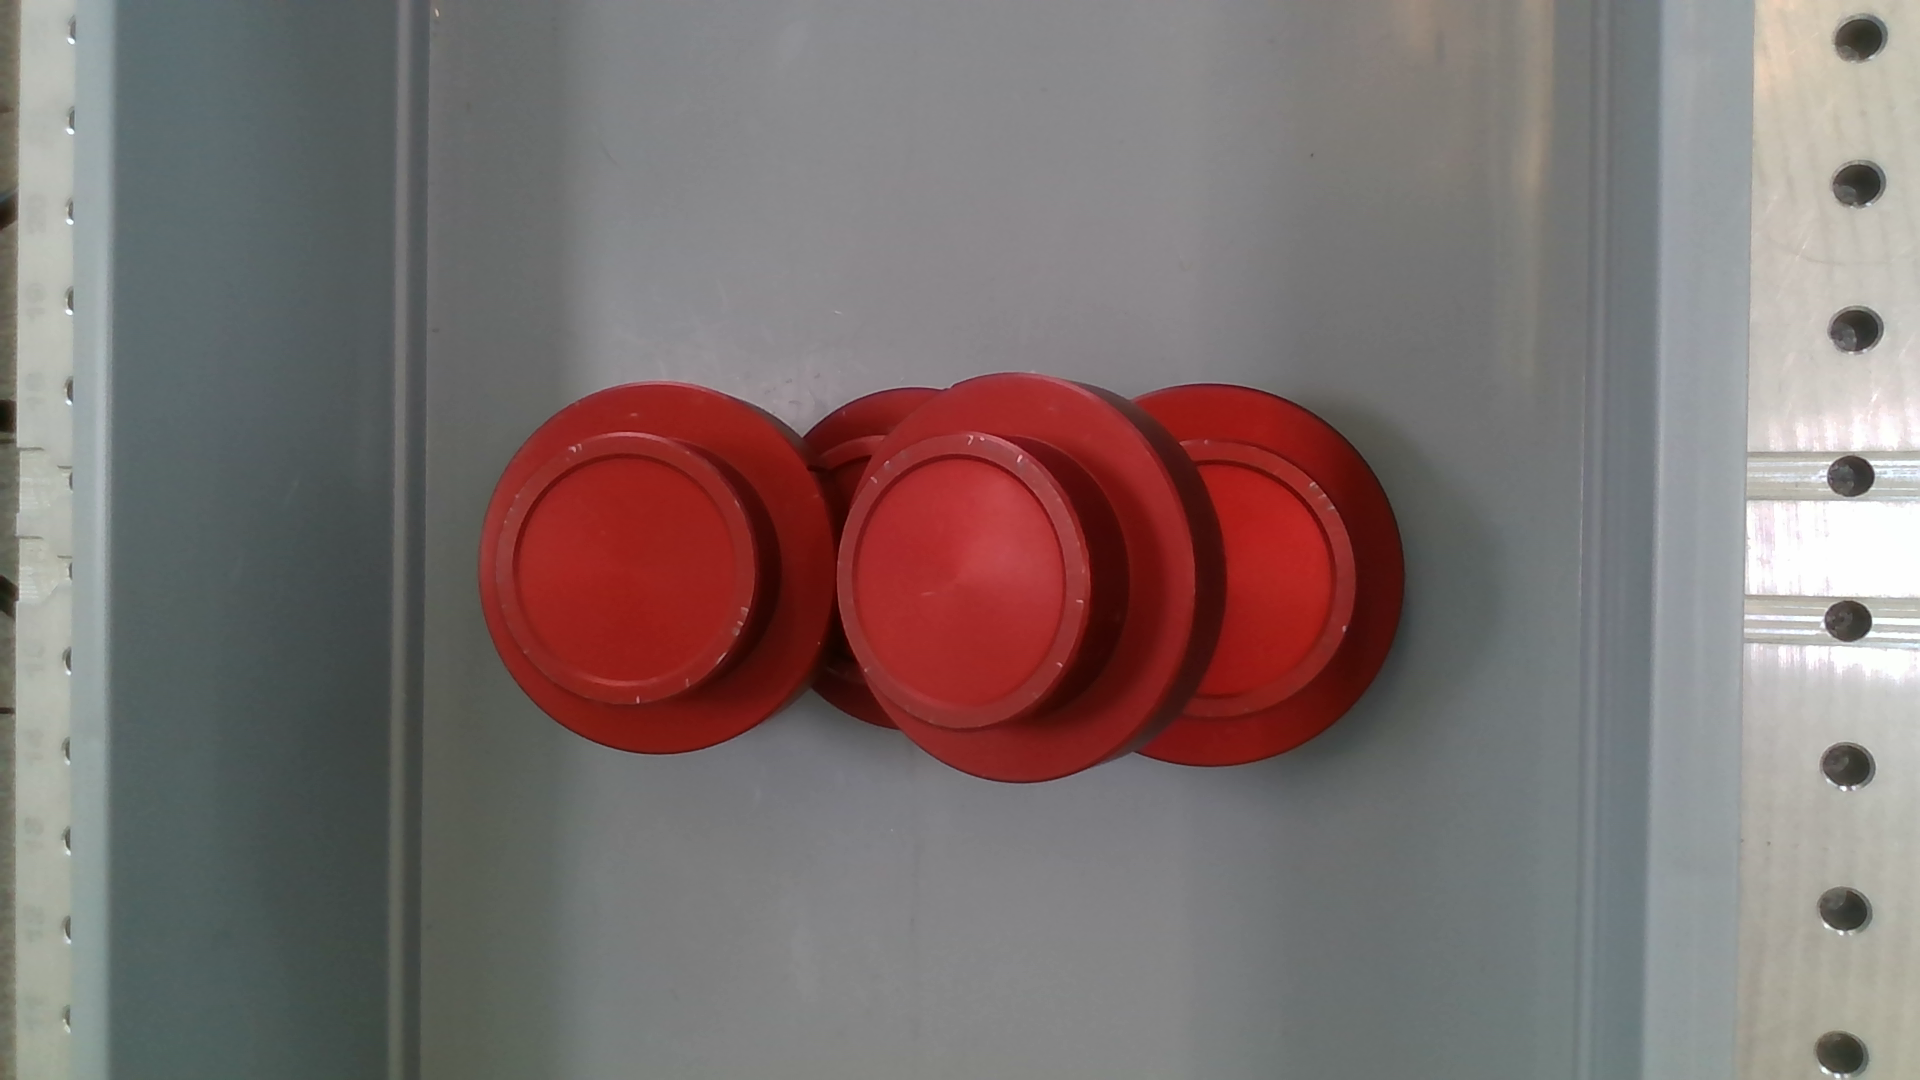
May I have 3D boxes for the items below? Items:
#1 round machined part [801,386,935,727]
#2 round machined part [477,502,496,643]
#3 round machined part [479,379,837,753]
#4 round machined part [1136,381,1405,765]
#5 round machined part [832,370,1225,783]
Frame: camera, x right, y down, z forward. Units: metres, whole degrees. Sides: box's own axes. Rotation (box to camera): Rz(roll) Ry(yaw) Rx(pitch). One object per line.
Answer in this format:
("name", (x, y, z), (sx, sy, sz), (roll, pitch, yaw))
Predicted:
("round machined part", (-0.014, 0.005, 0.389), (0.098, 0.042, 0.098), (0, 90, 19))
("round machined part", (-0.105, 0.007, 0.408), (0.098, 0.042, 0.098), (0, 90, 35))
("round machined part", (-0.080, 0.007, 0.359), (0.098, 0.042, 0.098), (0, 90, 9))
("round machined part", (0.063, 0.008, 0.349), (0.098, 0.042, 0.098), (0, 91, 4))
("round machined part", (0.009, 0.009, 0.326), (0.098, 0.042, 0.098), (0, 90, 32))
